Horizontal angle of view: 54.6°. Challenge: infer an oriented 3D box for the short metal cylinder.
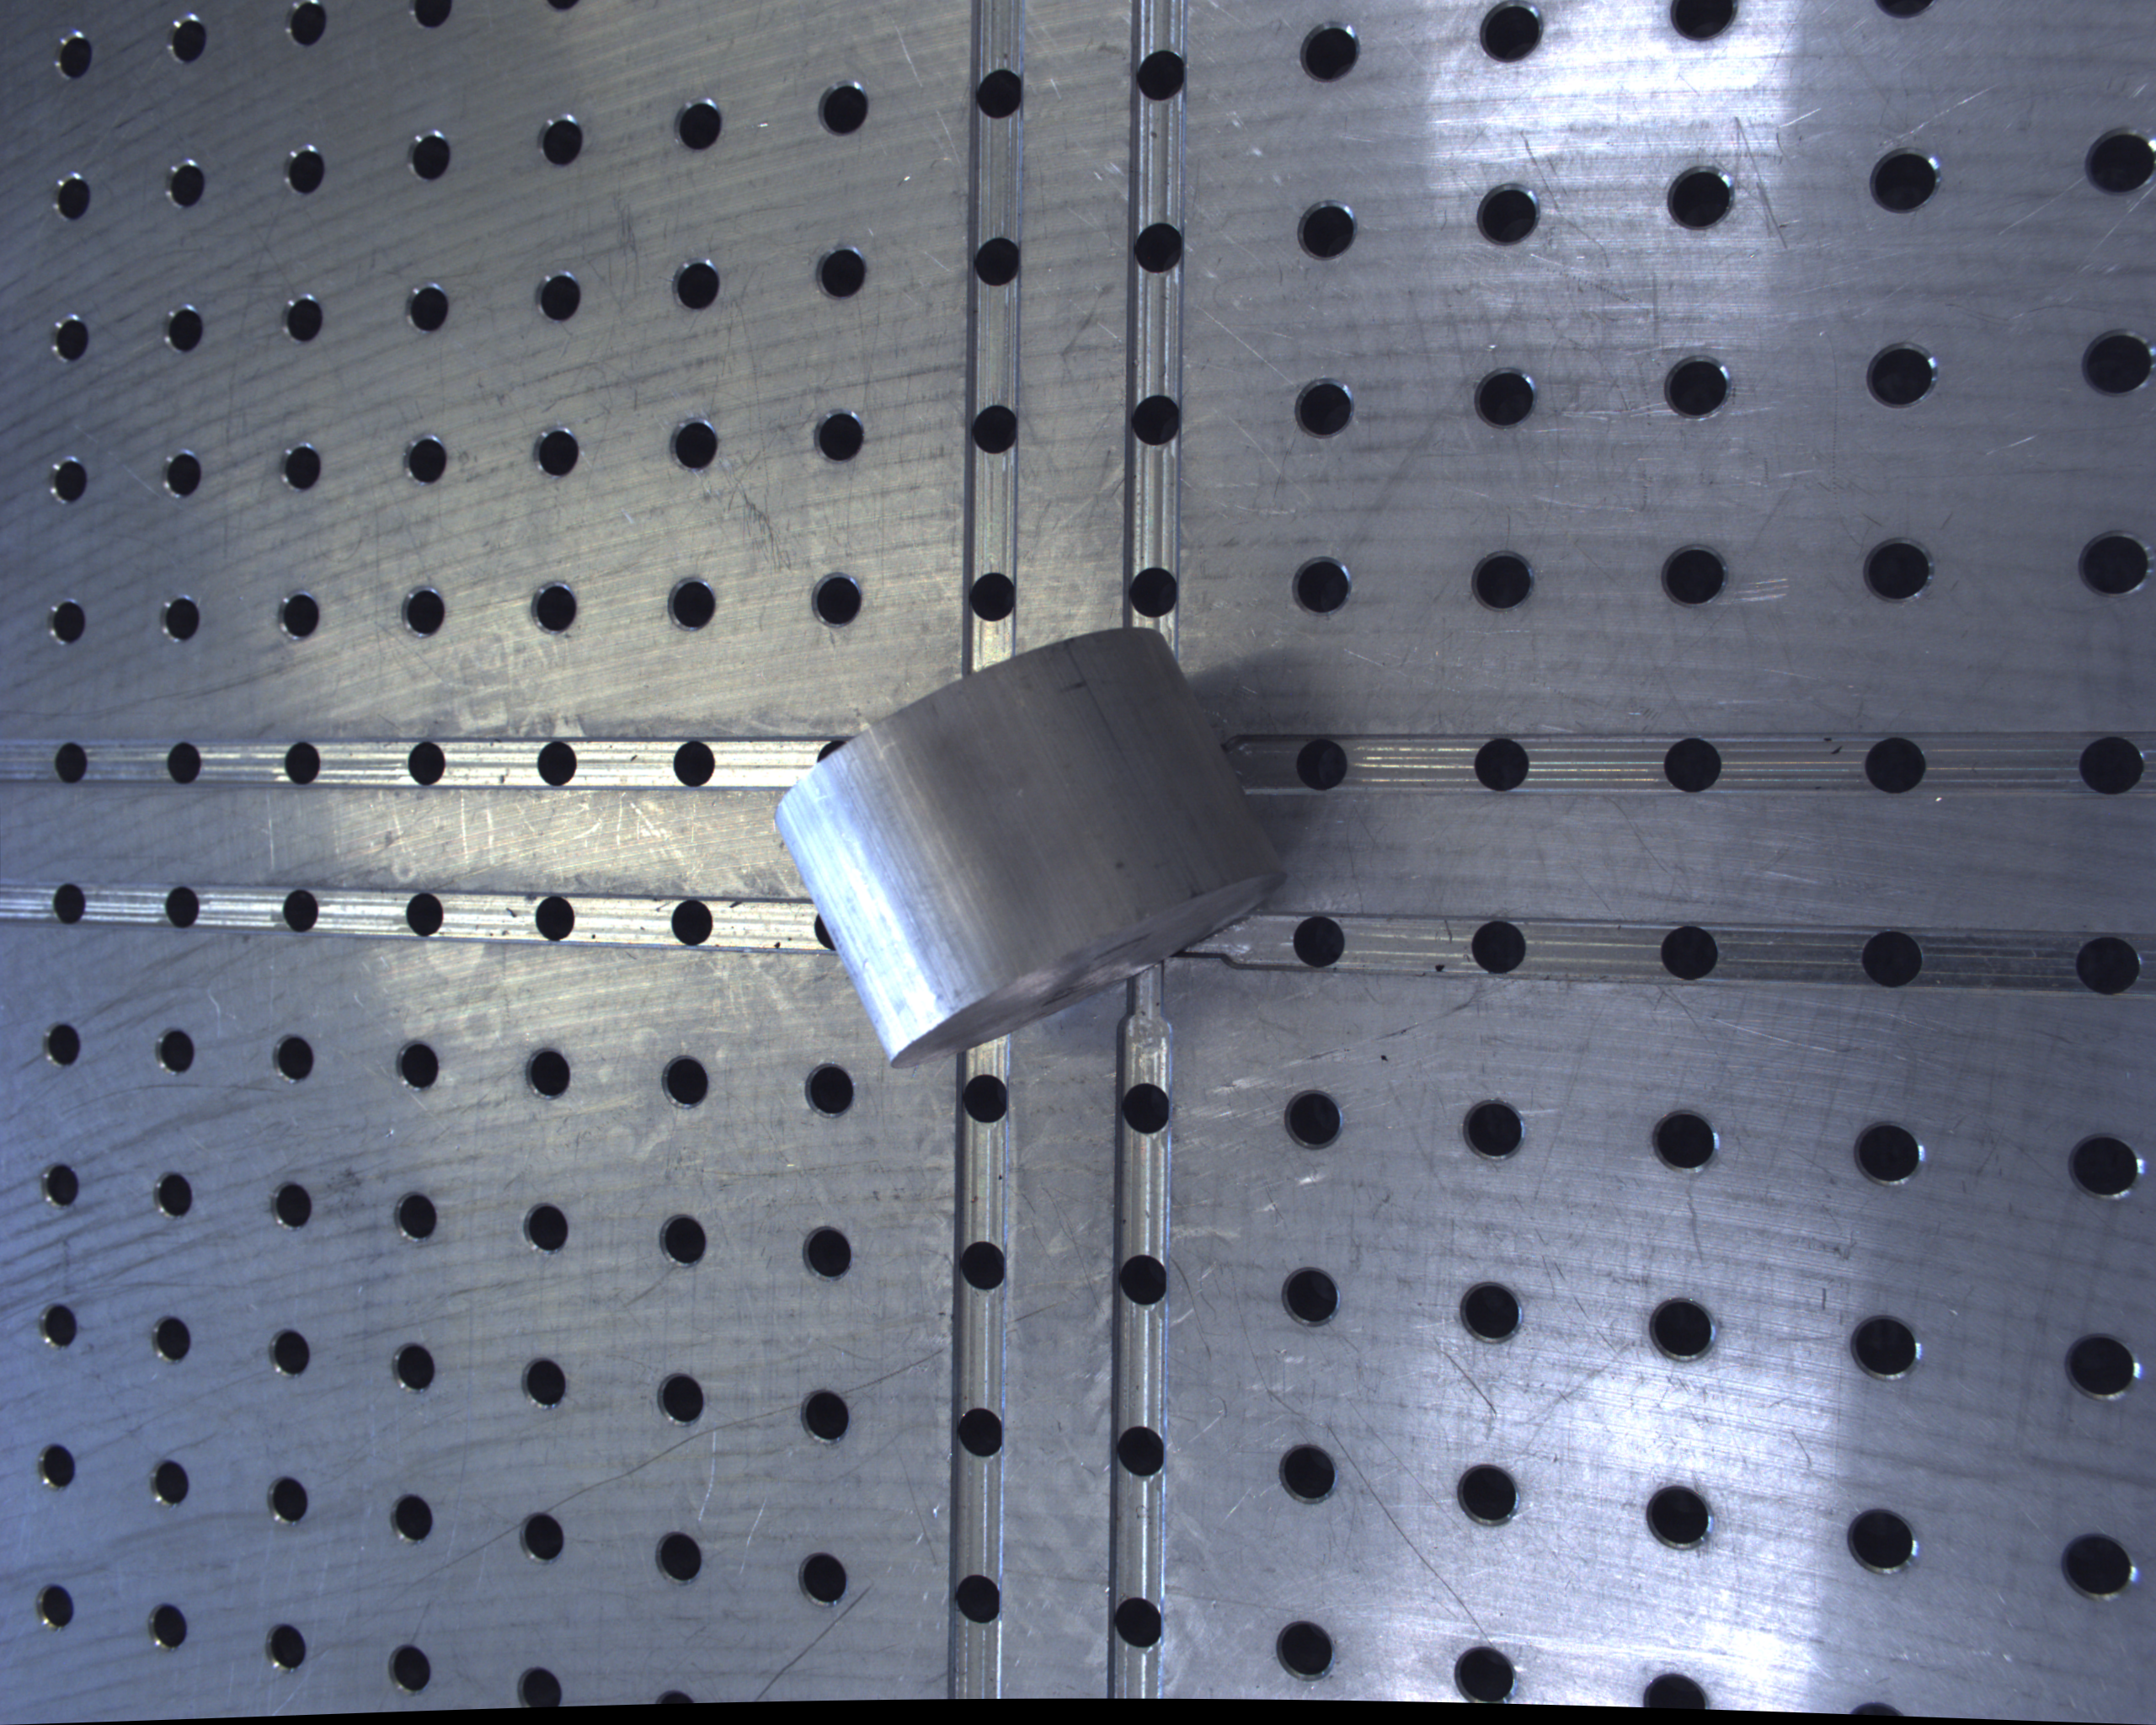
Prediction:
[{"bbox_3d":[-0.009,-0.002,0.386,0.080,0.080,0.050,-30,80,18],"label":"short metal cylinder"}]
